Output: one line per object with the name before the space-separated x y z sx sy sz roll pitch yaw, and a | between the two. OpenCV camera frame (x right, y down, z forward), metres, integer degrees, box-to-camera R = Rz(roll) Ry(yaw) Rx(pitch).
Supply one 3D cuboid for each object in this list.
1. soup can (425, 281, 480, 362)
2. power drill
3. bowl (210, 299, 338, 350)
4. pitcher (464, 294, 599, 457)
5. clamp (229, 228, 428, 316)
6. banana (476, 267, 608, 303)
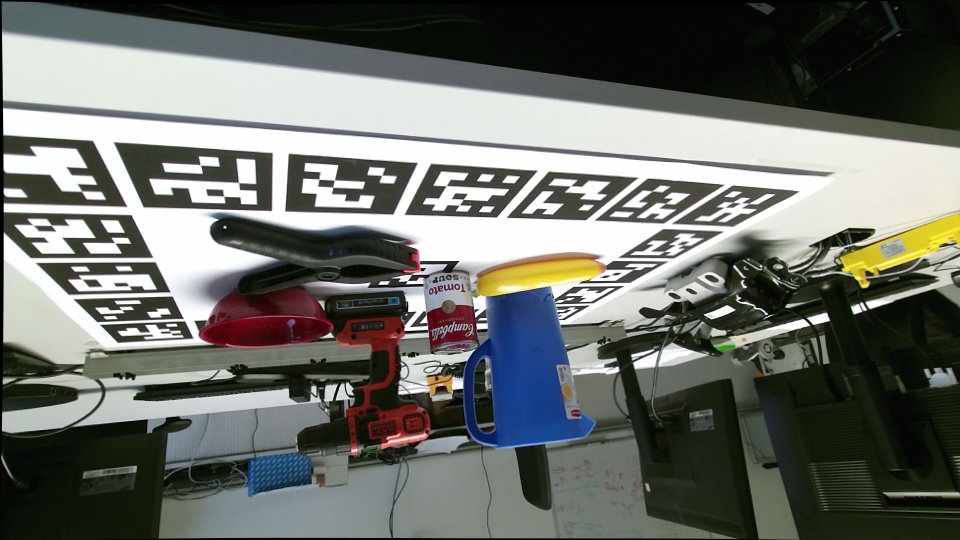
soup can | -0.038 0.072 0.740 0.068 0.101 0.068 -7 167 -2
power drill | -0.170 0.169 0.753 0.185 0.186 0.057 -3 157 -18
bowl | -0.265 0.071 0.692 0.162 0.055 0.162 -10 157 -4
pitcher | 0.064 0.160 0.814 0.189 0.241 0.133 -10 162 -1
clamp | -0.154 0.004 0.582 0.204 0.036 0.165 -2 153 -21
banana | 0.089 0.020 0.758 0.198 0.038 0.074 -9 167 1
